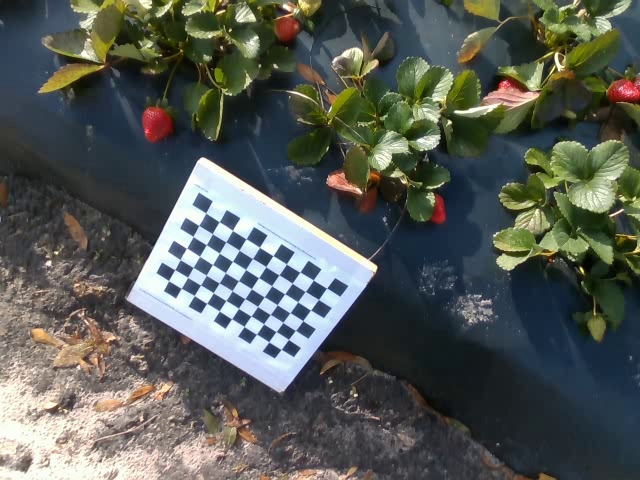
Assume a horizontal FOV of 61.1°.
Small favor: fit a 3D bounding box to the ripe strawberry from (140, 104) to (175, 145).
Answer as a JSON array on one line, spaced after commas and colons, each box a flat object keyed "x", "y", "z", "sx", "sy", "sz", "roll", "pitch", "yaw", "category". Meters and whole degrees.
[{"x": -0.186, "y": -0.130, "z": 0.608, "sx": 0.041, "sy": 0.047, "sz": 0.041, "roll": 9, "pitch": -32, "yaw": 18, "category": "ripe strawberry"}]
